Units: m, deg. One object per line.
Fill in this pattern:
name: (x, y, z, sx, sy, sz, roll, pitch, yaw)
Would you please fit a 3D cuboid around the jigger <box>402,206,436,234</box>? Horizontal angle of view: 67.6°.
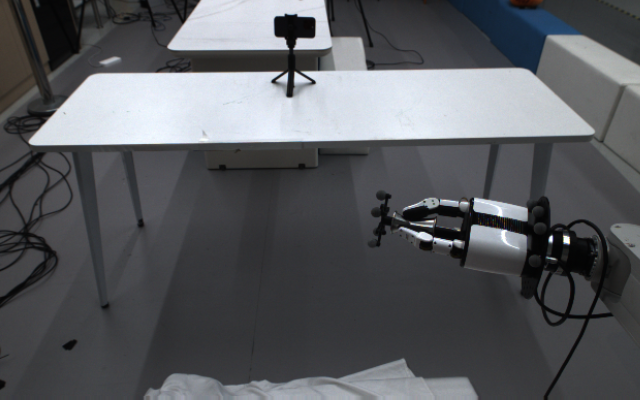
jigger: (0.158, 0.039, 0.786, 0.071, 0.043, 0.043, 11, 36, 16)
